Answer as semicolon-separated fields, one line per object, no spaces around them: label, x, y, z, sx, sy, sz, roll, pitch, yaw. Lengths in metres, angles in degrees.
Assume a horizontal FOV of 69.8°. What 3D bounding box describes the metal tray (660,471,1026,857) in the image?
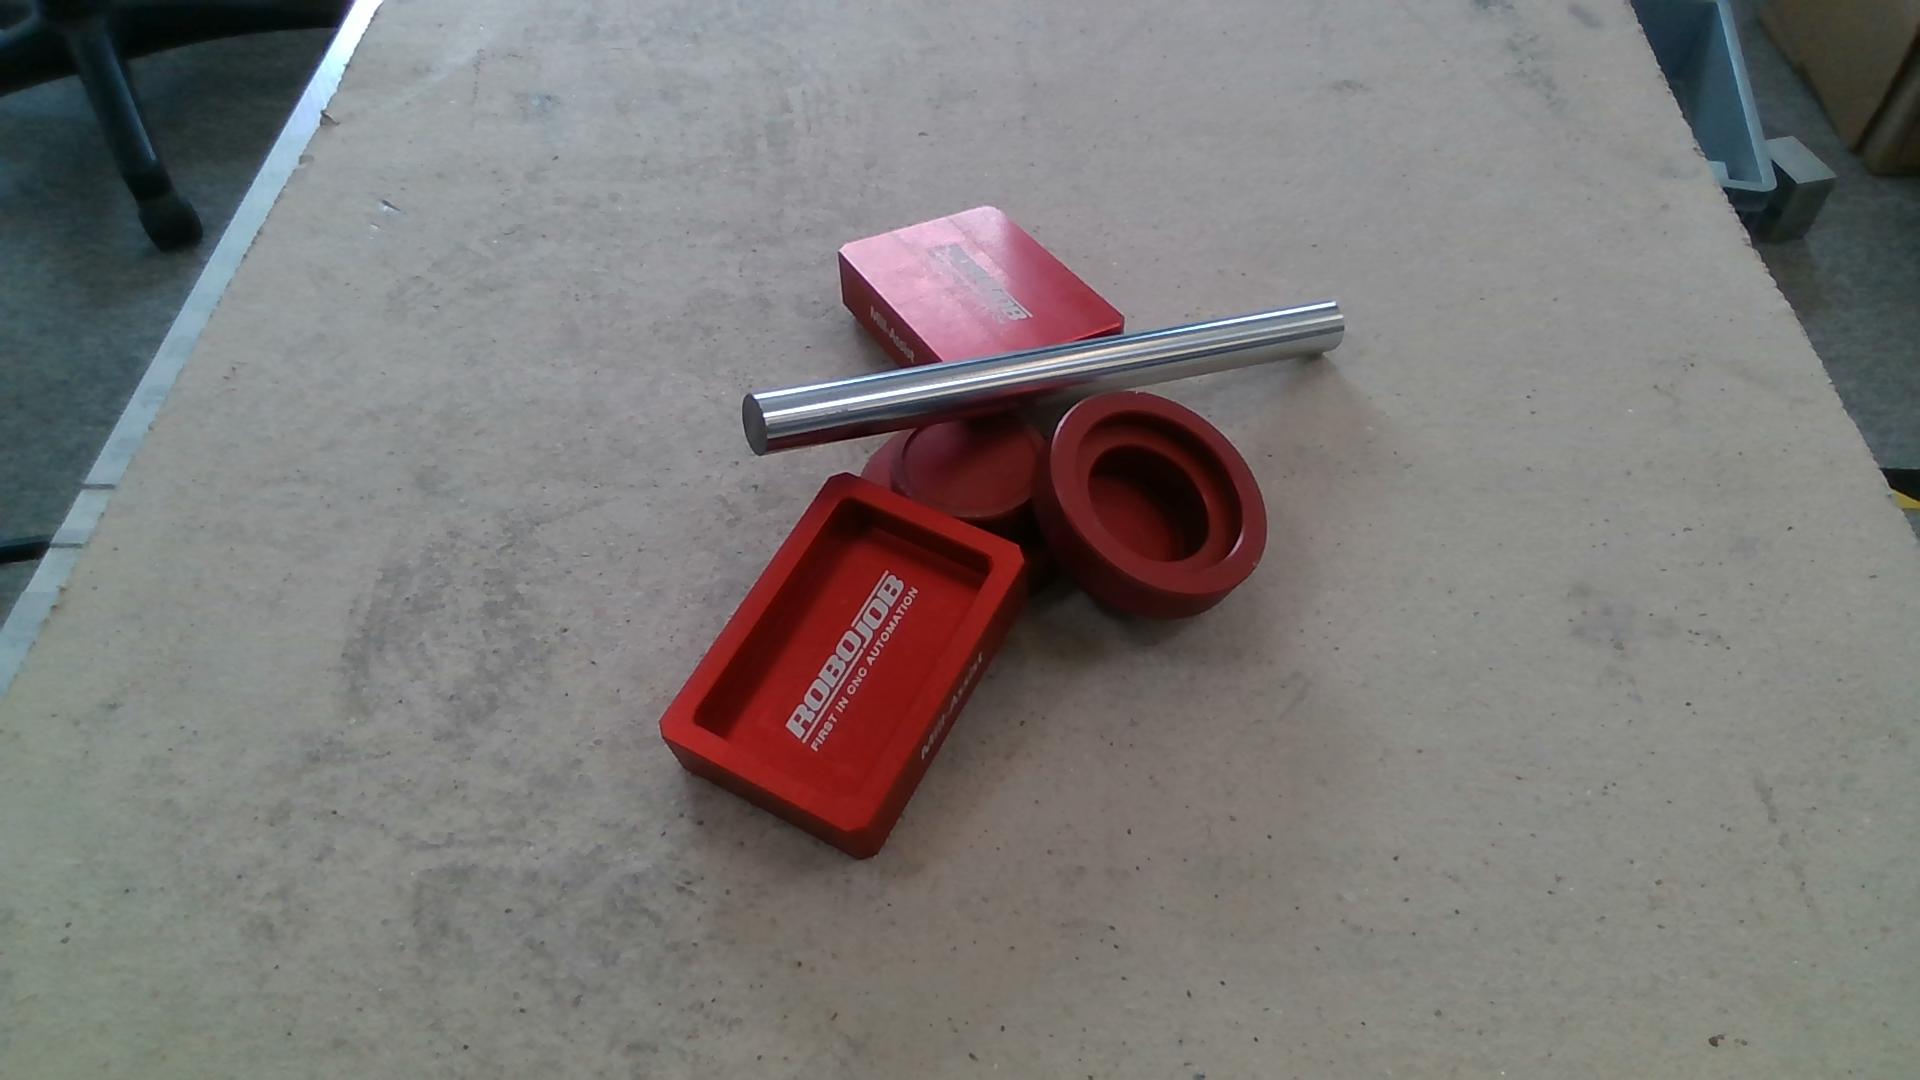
metal tray;-0.042;0.044;0.533;0.090;0.030;0.130;24;64;18

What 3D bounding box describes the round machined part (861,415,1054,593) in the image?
round machined part;0.004;-0.021;0.595;0.098;0.042;0.098;0;50;0

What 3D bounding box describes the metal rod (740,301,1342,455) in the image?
metal rod;0.049;-0.075;0.607;0.300;0.025;0.025;-13;50;-27

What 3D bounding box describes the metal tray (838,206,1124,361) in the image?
metal tray;0.008;-0.112;0.663;0.090;0.030;0.130;-20;44;-19

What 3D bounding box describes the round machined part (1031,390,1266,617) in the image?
round machined part;0.074;-0.011;0.571;0.098;0.042;0.098;12;55;-18
